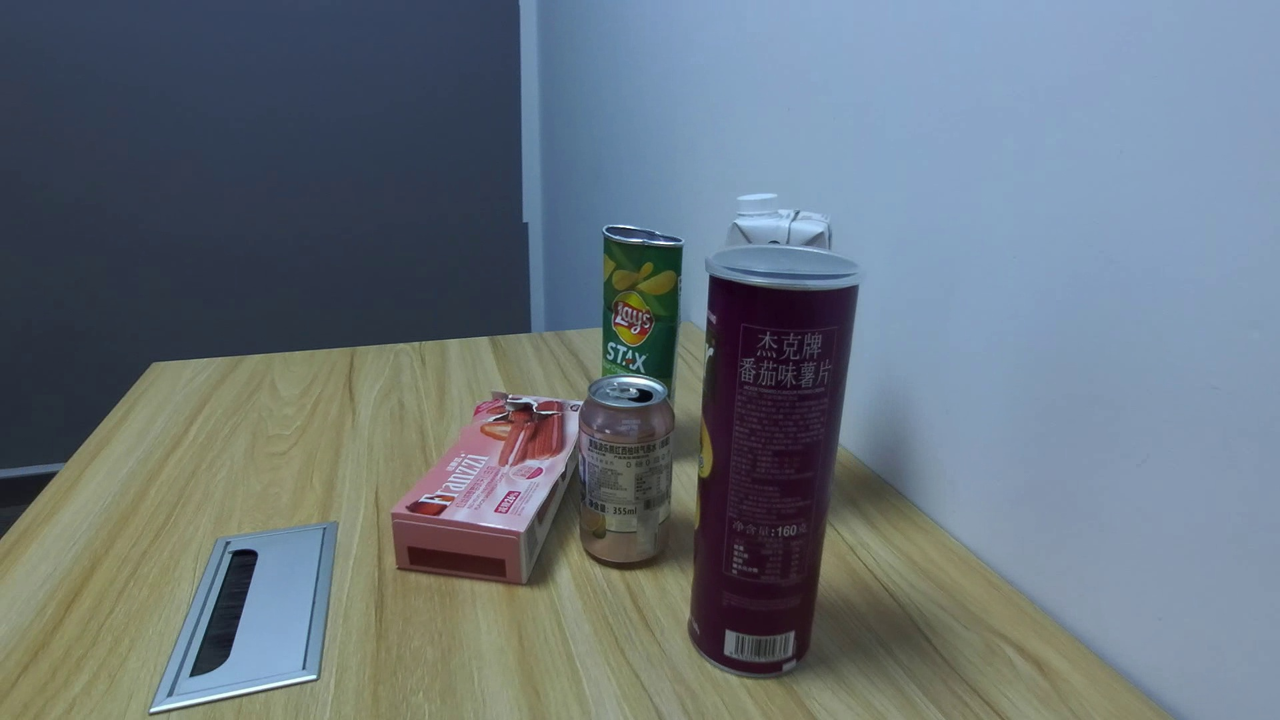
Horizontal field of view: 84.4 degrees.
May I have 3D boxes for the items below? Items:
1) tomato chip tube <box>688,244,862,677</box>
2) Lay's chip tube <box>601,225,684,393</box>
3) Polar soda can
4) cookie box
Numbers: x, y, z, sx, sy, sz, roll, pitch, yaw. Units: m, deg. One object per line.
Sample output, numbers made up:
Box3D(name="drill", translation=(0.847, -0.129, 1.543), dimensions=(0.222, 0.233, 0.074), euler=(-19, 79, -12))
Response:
Box3D(name="tomato chip tube", translation=(0.071, 0.060, 0.394), dimensions=(0.078, 0.234, 0.078), euler=(1, 22, 0))
Box3D(name="Lay's chip tube", translation=(0.000, -0.009, 0.615), dimensions=(0.075, 0.199, 0.069), euler=(4, 18, 9))
Box3D(name="Polar soda can", translation=(-0.010, 0.077, 0.503), dimensions=(0.067, 0.125, 0.067), euler=(1, 21, 0))
Box3D(name="cookie box", translation=(-0.107, 0.090, 0.555), dimensions=(0.105, 0.059, 0.186), euler=(3, 22, 8))
